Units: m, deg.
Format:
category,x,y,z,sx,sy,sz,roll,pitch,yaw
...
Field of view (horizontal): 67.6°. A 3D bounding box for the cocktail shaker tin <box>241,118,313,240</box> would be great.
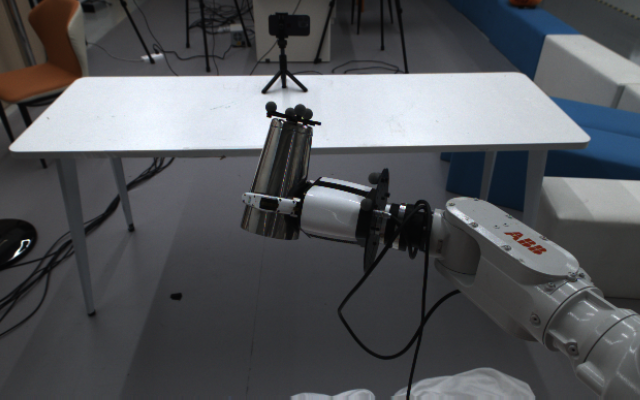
category,x,y,z,sx,sy,sz,roll,pitch,yaw
cocktail shaker tin,-0.061,-0.033,0.741,0.093,0.170,0.093,12,5,-1
